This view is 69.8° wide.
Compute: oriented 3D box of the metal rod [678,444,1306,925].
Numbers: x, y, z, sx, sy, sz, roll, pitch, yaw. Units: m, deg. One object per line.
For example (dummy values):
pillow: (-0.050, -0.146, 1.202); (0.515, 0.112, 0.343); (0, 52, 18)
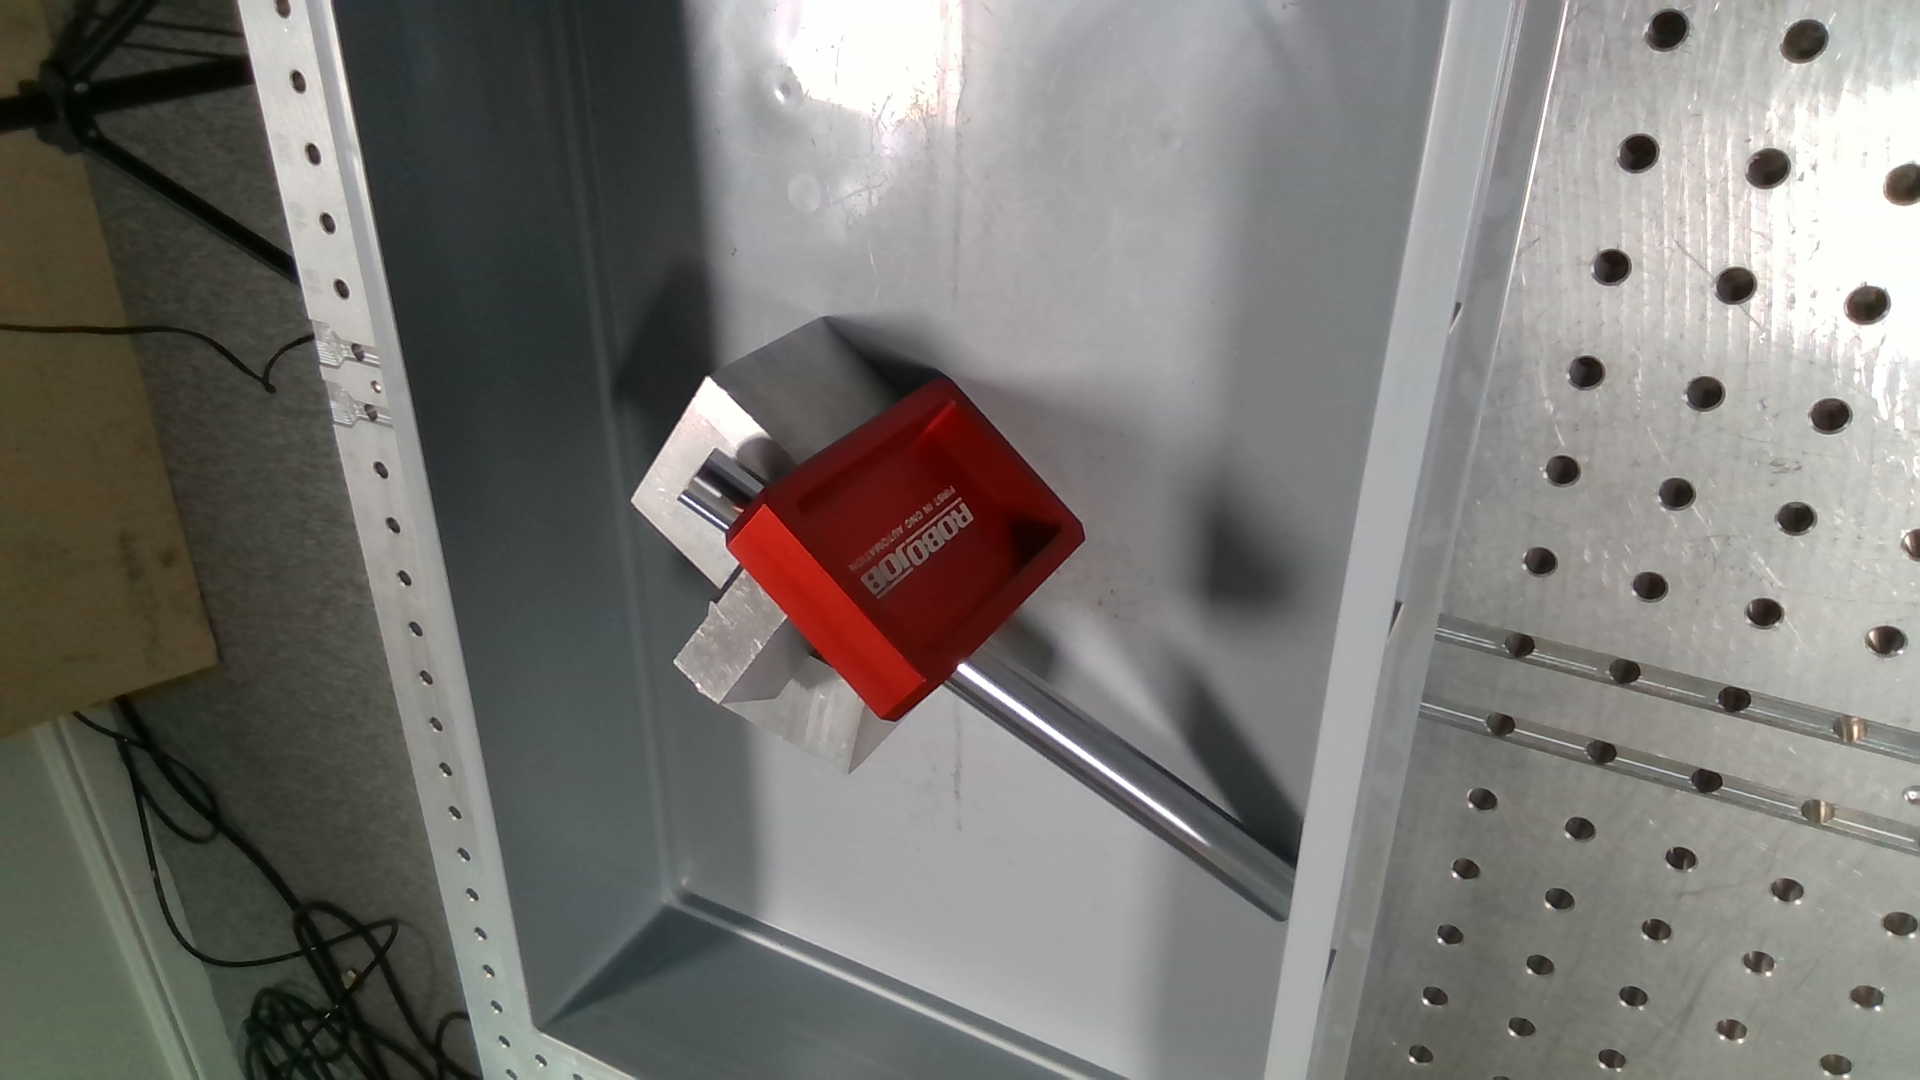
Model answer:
metal rod: (0.020, 0.062, 0.543); (0.300, 0.025, 0.025); (37, 131, -13)

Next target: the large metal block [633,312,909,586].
large metal block: (-0.077, -0.038, 0.571); (0.050, 0.080, 0.080); (45, 129, 3)

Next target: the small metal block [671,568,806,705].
small metal block: (-0.077, 0.036, 0.533); (0.025, 0.050, 0.050); (41, 98, 16)

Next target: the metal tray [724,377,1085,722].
metal tray: (-0.016, -0.001, 0.519); (0.090, 0.130, 0.030); (48, 129, 2)

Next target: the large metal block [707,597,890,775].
large metal block: (-0.057, 0.045, 0.604); (0.080, 0.080, 0.050); (26, 126, 17)
